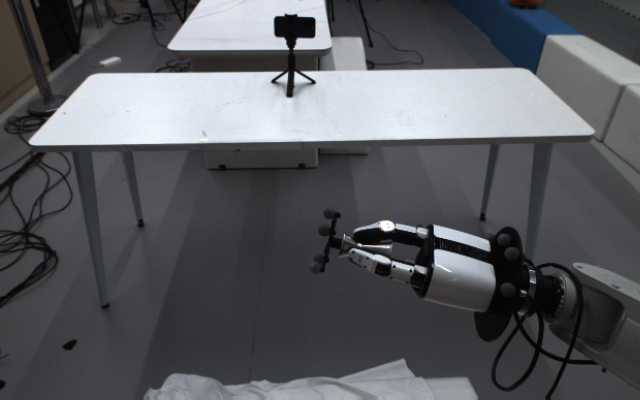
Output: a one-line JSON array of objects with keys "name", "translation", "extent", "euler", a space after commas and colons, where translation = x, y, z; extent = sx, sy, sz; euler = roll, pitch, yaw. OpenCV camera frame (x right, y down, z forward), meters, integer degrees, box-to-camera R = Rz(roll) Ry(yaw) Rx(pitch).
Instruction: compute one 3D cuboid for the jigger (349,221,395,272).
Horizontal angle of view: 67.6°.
[{"name": "jigger", "translation": [0.069, 0.068, 0.674], "extent": [0.071, 0.043, 0.043], "euler": [14, 36, 5]}]
